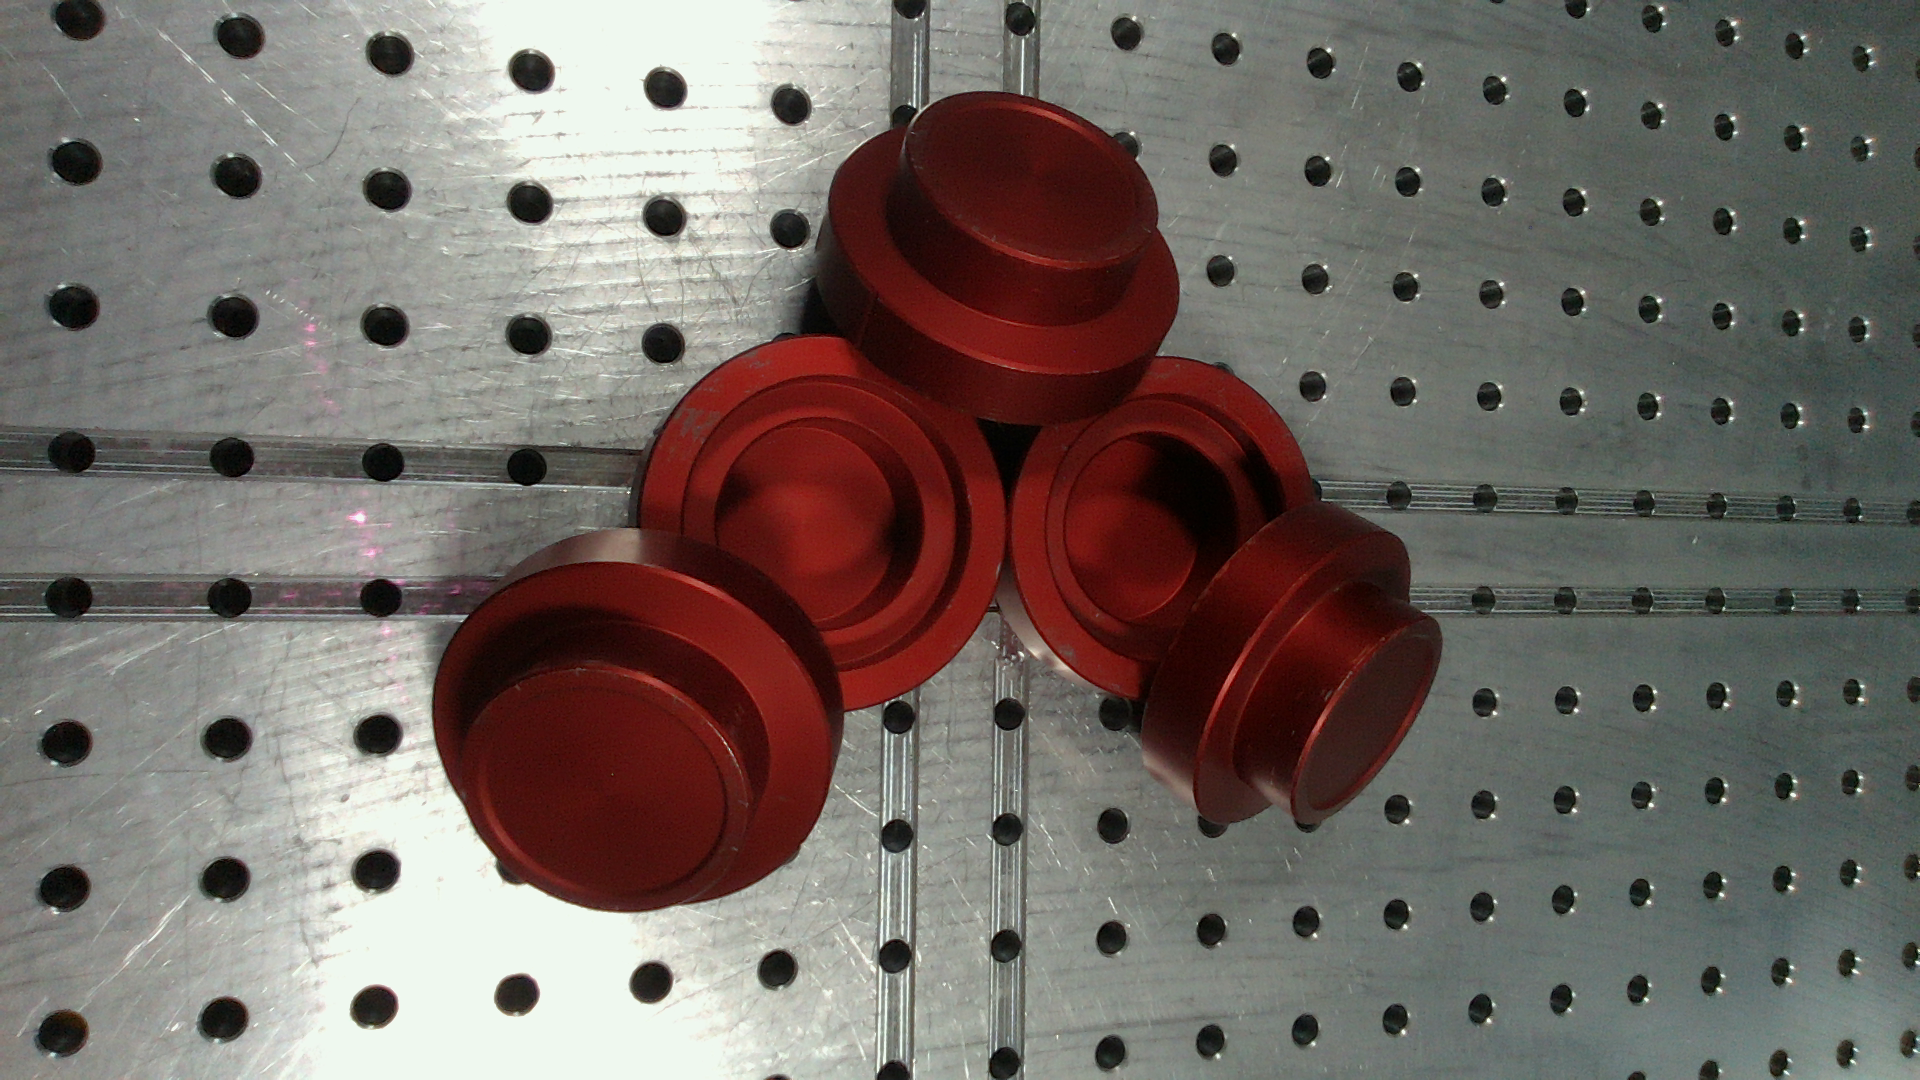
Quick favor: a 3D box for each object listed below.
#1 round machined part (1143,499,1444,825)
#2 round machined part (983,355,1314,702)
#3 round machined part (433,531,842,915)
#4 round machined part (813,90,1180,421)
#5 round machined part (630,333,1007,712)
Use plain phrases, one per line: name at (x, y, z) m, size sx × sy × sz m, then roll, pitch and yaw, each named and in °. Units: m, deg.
round machined part at (0.101, 0.041, 0.395) m, size 0.098 × 0.042 × 0.098 m, roll -28°, pitch 135°, yaw -32°
round machined part at (0.052, -0.003, 0.406) m, size 0.098 × 0.042 × 0.098 m, roll 0°, pitch 90°, yaw -20°
round machined part at (-0.080, 0.051, 0.333) m, size 0.098 × 0.042 × 0.098 m, roll 2°, pitch 115°, yaw 4°
round machined part at (0.013, -0.081, 0.364) m, size 0.098 × 0.042 × 0.098 m, roll 10°, pitch 49°, yaw -12°
round machined part at (-0.040, -0.004, 0.371) m, size 0.098 × 0.042 × 0.098 m, roll 0°, pitch 90°, yaw -20°
